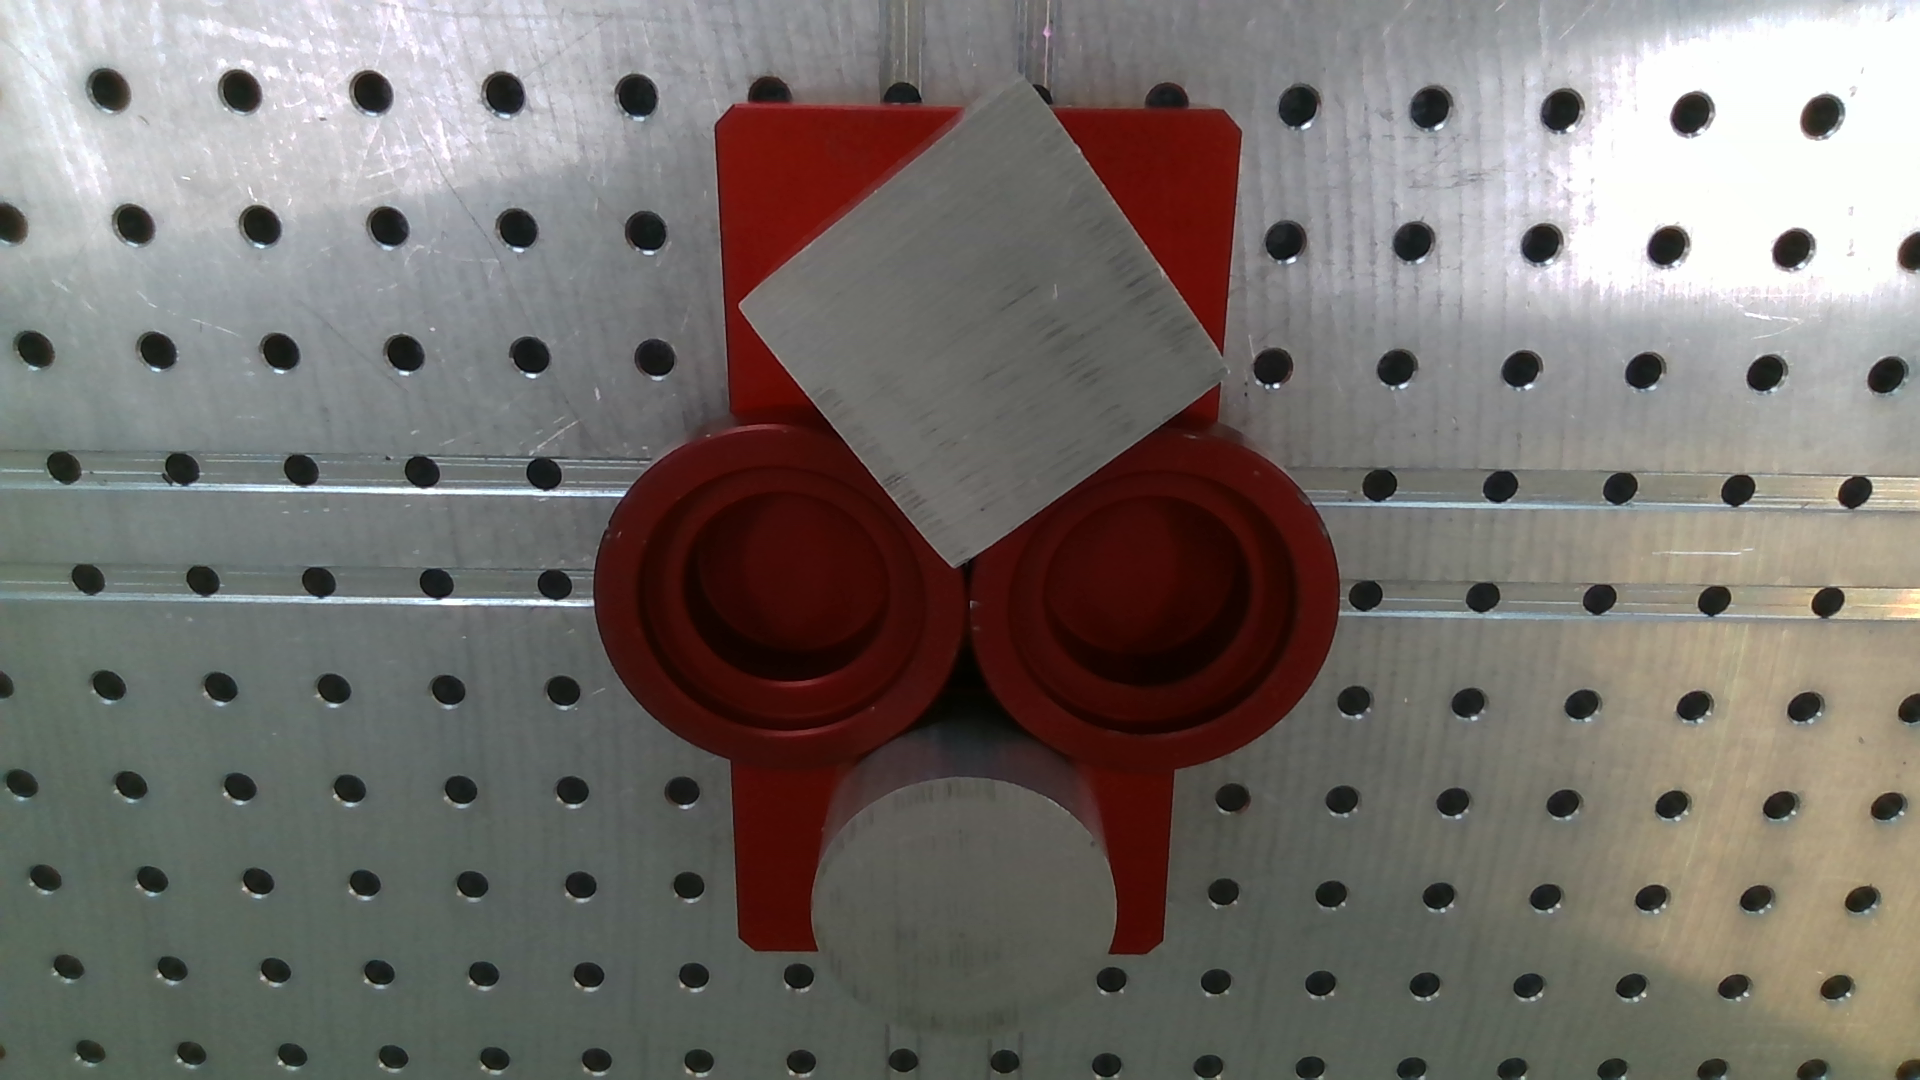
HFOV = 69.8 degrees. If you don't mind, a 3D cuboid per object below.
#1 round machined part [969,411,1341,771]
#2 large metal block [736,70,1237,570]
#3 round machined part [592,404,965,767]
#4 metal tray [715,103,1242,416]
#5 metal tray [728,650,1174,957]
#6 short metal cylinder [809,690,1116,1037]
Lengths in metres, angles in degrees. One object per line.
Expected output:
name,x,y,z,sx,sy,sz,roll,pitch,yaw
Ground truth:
round machined part,0.051,0.011,0.381,0.098,0.042,0.098,0,110,0
large metal block,0.006,-0.054,0.331,0.080,0.050,0.080,-35,106,12
round machined part,-0.048,0.010,0.381,0.098,0.042,0.098,0,110,0
metal tray,0.004,-0.069,0.368,0.130,0.030,0.090,0,111,0
metal tray,-0.003,0.081,0.421,0.130,0.030,0.090,1,110,0
short metal cylinder,0.001,0.089,0.383,0.080,0.050,0.080,0,110,0
